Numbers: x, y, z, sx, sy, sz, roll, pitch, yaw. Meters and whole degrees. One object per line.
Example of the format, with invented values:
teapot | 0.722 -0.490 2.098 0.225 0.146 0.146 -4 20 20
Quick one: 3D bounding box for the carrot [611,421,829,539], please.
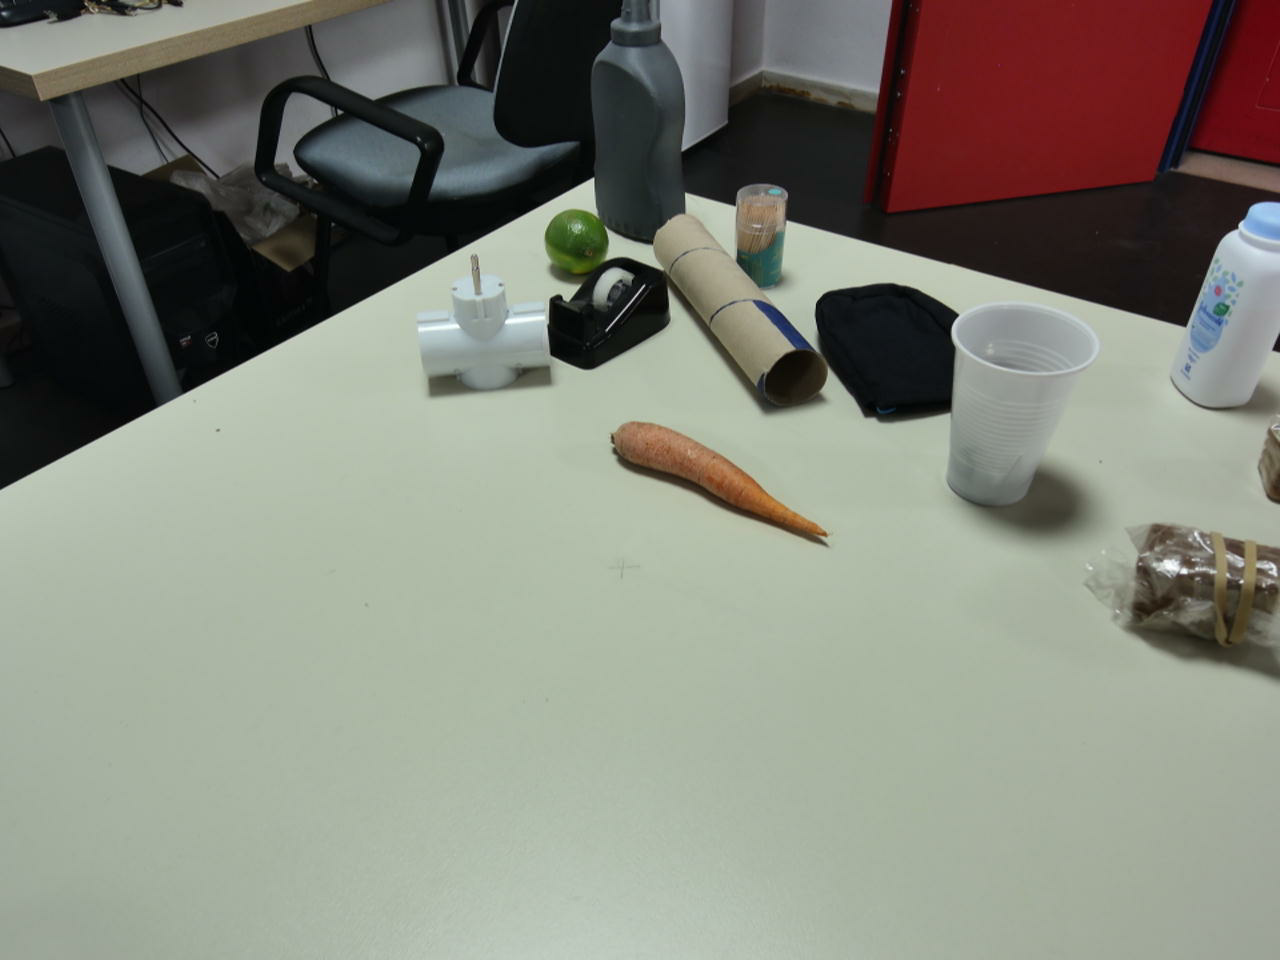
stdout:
carrot | 0.047 -0.004 0.620 0.163 0.029 0.031 25 44 28
